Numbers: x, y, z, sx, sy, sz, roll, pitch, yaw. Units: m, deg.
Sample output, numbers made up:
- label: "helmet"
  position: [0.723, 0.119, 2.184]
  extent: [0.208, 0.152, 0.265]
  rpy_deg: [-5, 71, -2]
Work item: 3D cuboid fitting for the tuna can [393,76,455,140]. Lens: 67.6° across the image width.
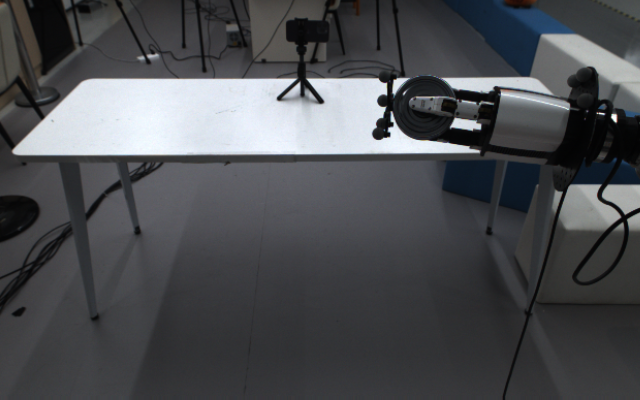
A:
- label: "tuna can"
  position: [0.147, -0.132, 0.659]
  extent: [0.085, 0.085, 0.034]
  rpy_deg: [11, 2, 12]
